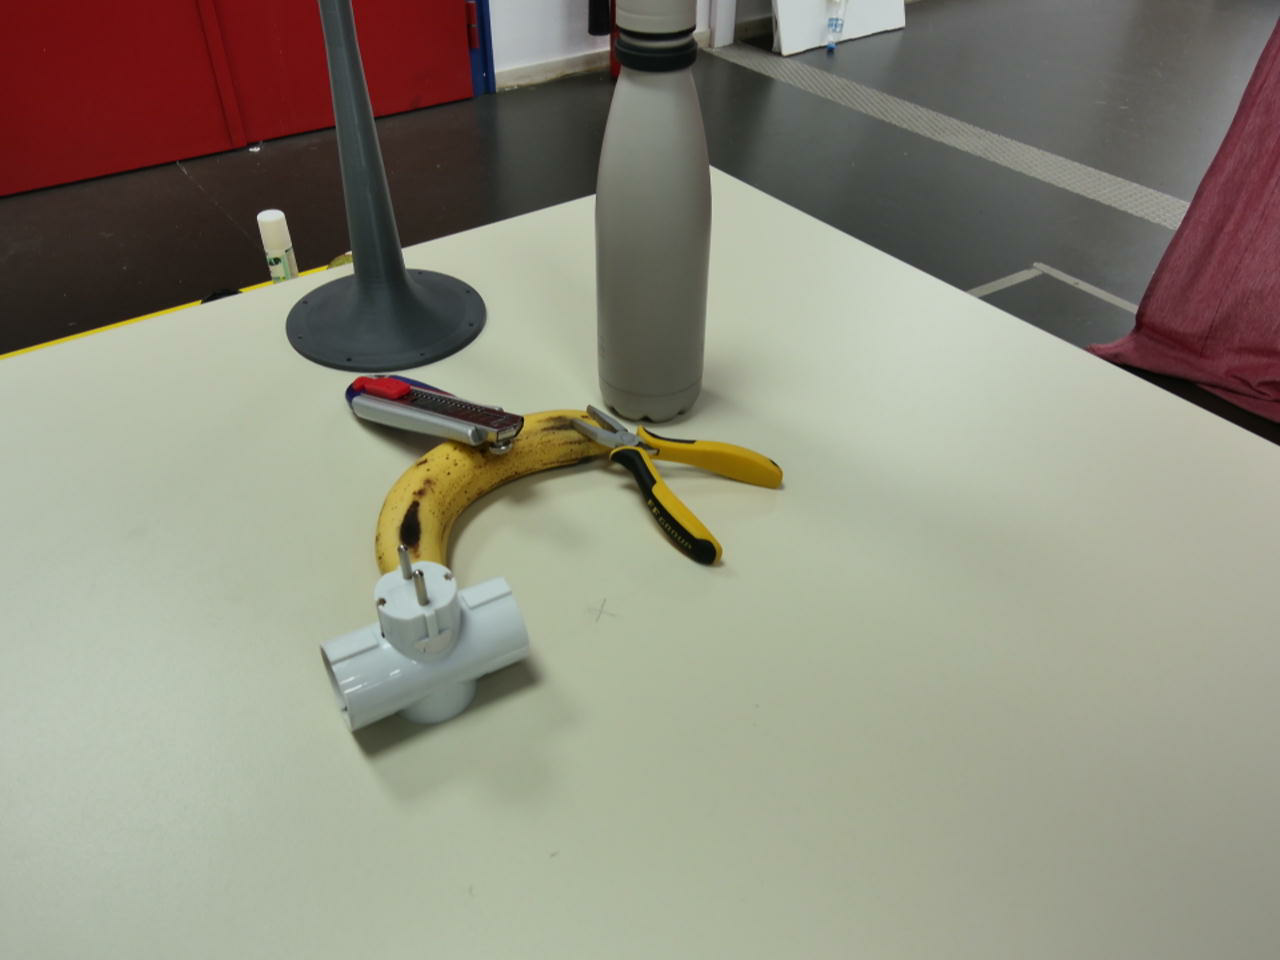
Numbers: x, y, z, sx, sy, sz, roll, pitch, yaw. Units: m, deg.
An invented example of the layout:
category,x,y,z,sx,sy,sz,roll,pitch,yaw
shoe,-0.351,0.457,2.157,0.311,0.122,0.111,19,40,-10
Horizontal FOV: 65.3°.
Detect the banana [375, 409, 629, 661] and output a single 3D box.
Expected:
category,x,y,z,sx,sy,sz,roll,pitch,yaw
banana,-0.086,0.009,0.578,0.097,0.038,0.186,16,41,19
